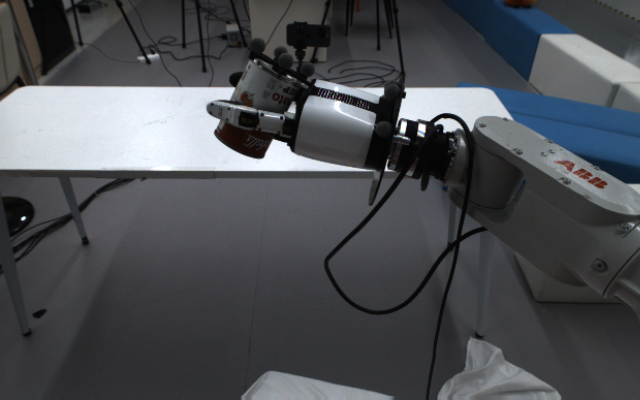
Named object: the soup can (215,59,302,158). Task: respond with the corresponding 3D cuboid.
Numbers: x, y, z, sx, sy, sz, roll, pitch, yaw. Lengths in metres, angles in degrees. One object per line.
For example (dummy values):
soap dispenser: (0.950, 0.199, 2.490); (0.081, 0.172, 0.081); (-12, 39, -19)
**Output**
soup can: (-0.074, -0.109, 0.575); (0.067, 0.101, 0.067); (28, 18, -10)
